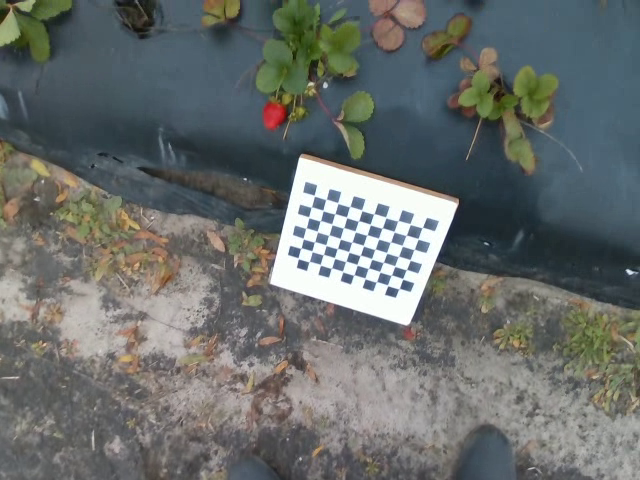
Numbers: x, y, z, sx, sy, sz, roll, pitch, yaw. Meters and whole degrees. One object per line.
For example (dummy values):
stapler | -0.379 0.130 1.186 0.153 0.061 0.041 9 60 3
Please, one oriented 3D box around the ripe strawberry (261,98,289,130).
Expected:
ripe strawberry | -0.028 -0.067 0.305 0.018 0.017 0.014 18 -15 -3
